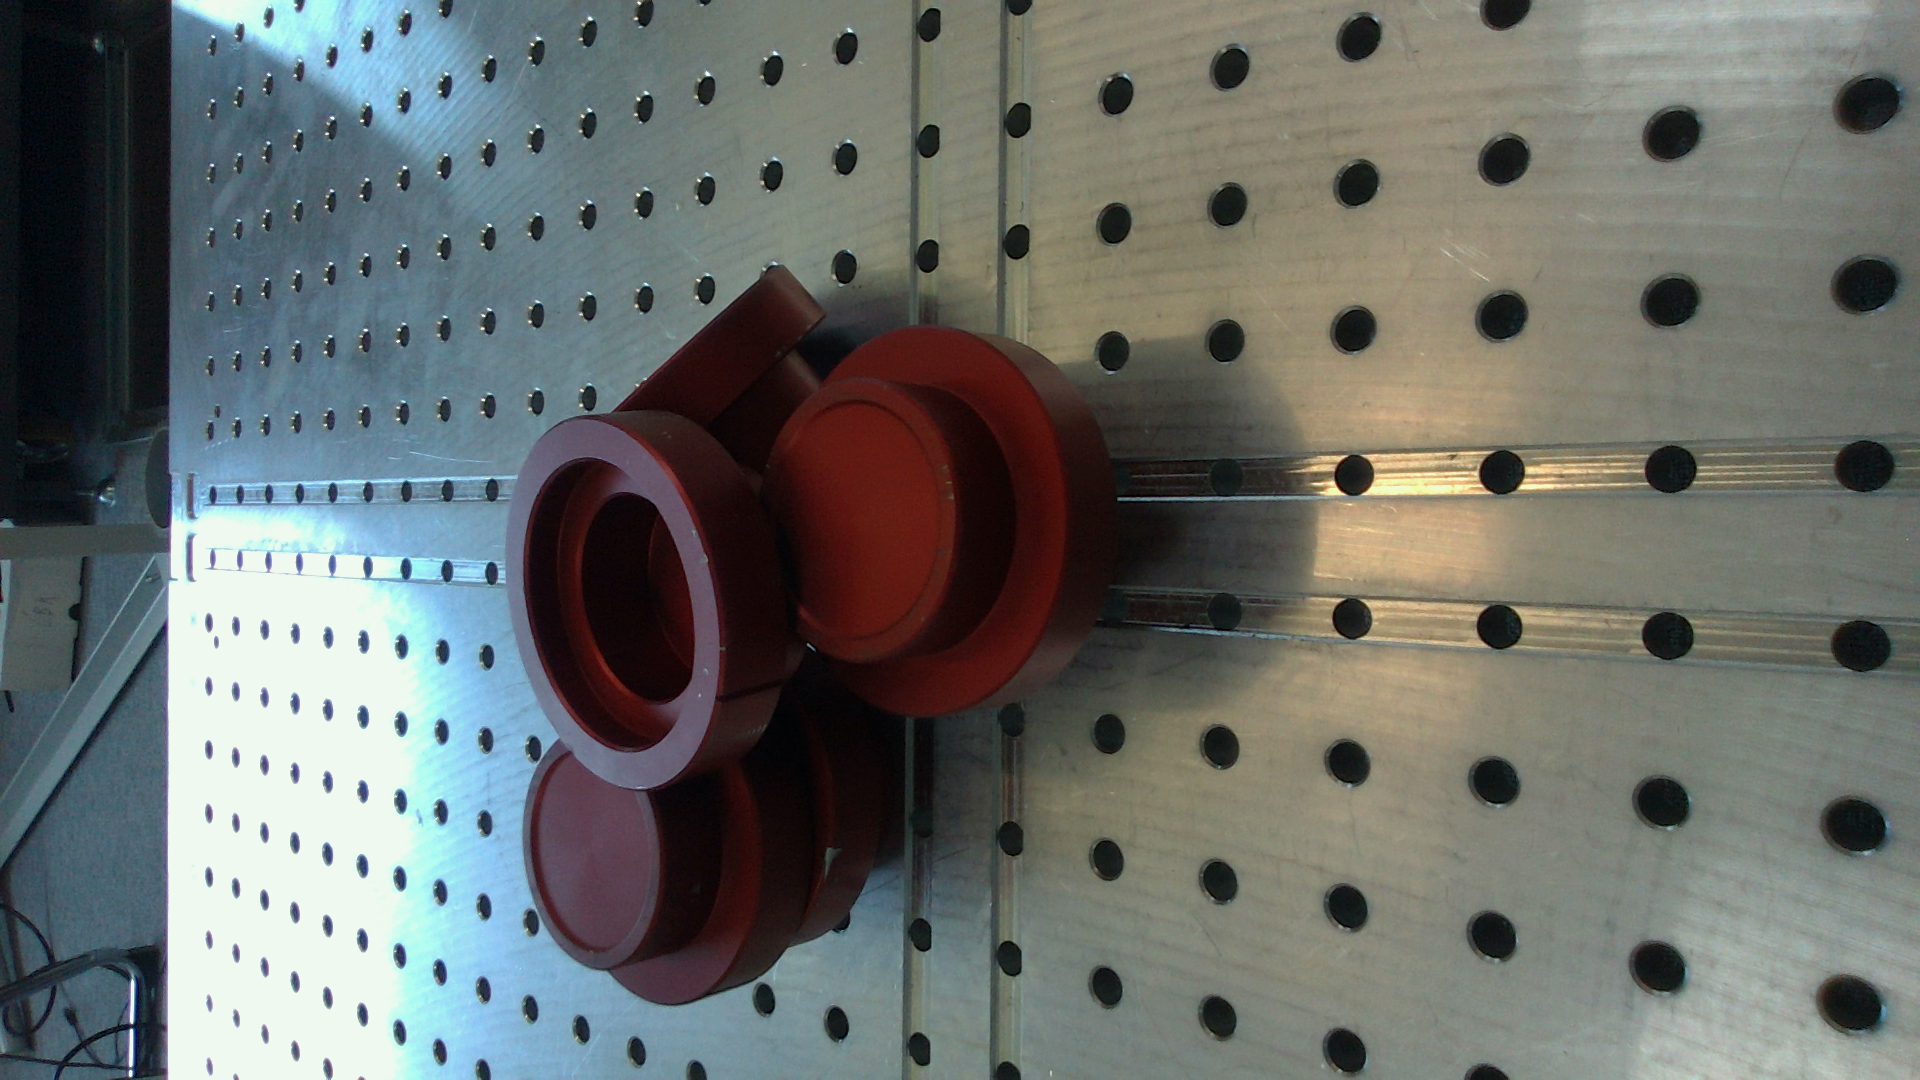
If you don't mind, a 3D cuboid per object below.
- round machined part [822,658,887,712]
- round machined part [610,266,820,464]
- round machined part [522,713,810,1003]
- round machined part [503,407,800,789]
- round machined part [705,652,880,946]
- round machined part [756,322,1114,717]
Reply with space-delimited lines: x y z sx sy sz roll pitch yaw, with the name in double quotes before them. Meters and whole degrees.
"round machined part" -0.016 -0.001 0.373 0.098 0.042 0.098 0 90 40
"round machined part" -0.078 -0.037 0.427 0.098 0.098 0.042 -35 104 35
"round machined part" -0.093 0.088 0.410 0.098 0.042 0.098 0 90 40
"round machined part" -0.078 0.013 0.369 0.098 0.042 0.098 10 105 42
"round machined part" -0.074 0.078 0.422 0.098 0.042 0.098 0 90 40
"round machined part" -0.014 -0.005 0.342 0.098 0.042 0.098 -1 89 40
